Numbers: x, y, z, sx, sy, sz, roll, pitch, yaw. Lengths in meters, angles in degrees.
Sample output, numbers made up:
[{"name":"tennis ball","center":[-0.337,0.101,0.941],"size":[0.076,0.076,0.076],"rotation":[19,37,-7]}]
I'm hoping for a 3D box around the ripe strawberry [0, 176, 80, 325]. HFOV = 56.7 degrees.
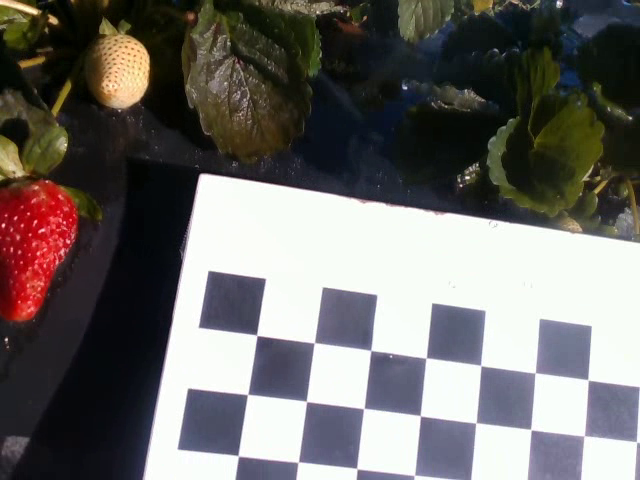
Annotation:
[{"name":"ripe strawberry","center":[-0.119,0.005,0.236],"size":[0.048,0.069,0.040],"rotation":[-9,-18,-8]}]
